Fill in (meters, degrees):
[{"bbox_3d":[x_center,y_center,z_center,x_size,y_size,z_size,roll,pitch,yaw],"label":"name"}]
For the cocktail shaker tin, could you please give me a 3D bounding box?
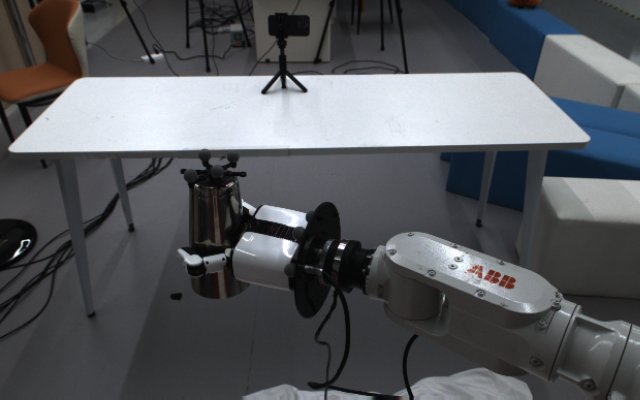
[{"bbox_3d":[-0.145,0.046,0.694,0.093,0.170,0.093,2,28,-1],"label":"cocktail shaker tin"}]
